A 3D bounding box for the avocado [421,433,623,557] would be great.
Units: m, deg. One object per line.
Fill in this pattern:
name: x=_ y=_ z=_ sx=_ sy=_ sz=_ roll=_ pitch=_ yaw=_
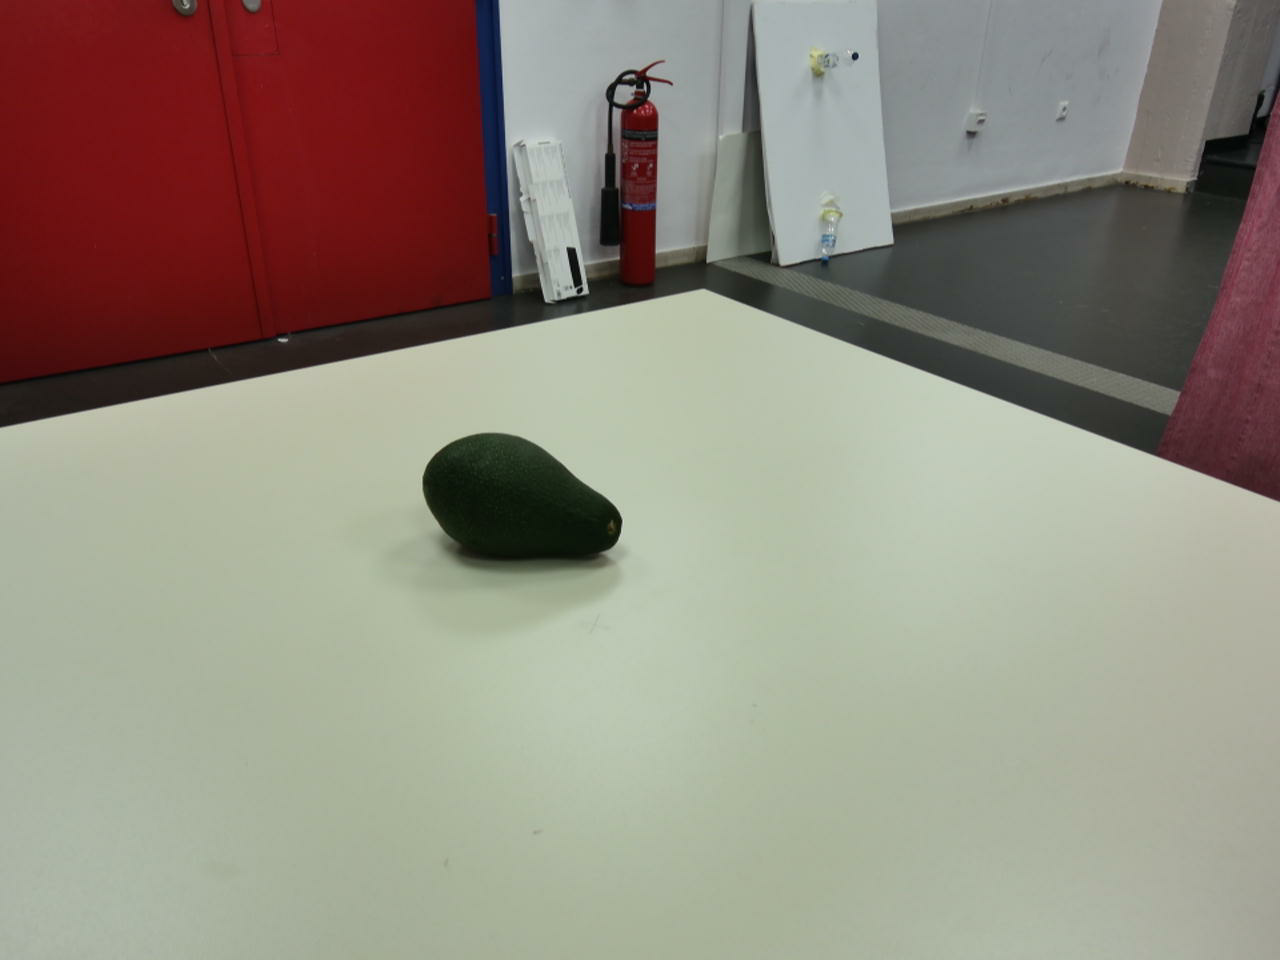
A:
avocado: x=-0.071 y=0.010 z=0.574 sx=0.110 sy=0.071 sz=0.072 roll=14 pitch=29 yaw=27
